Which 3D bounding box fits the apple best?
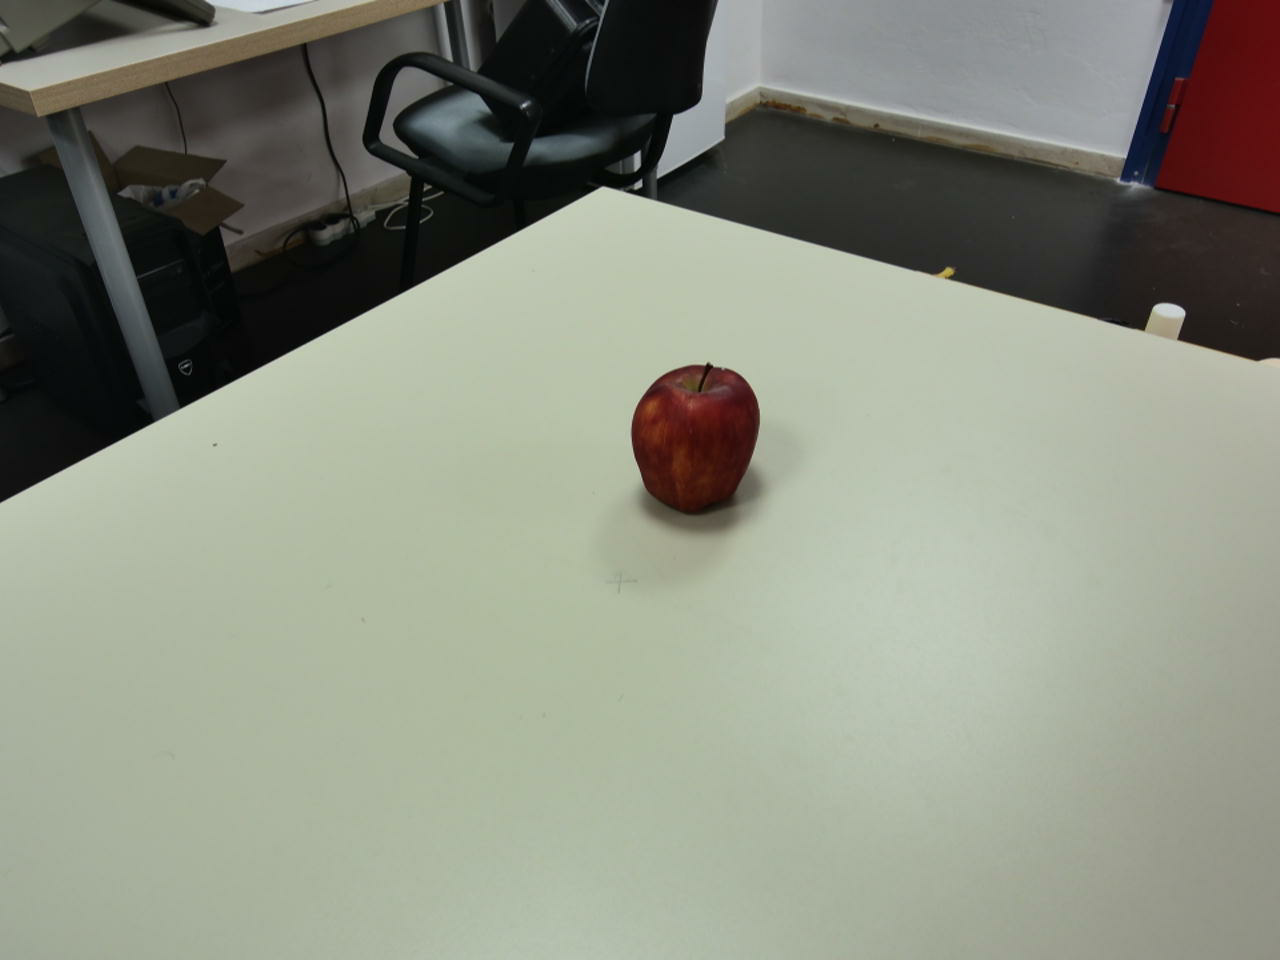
[{"bbox_3d":[0.034,-0.032,0.599,0.083,0.090,0.083,-1,37,1],"label":"apple"}]
